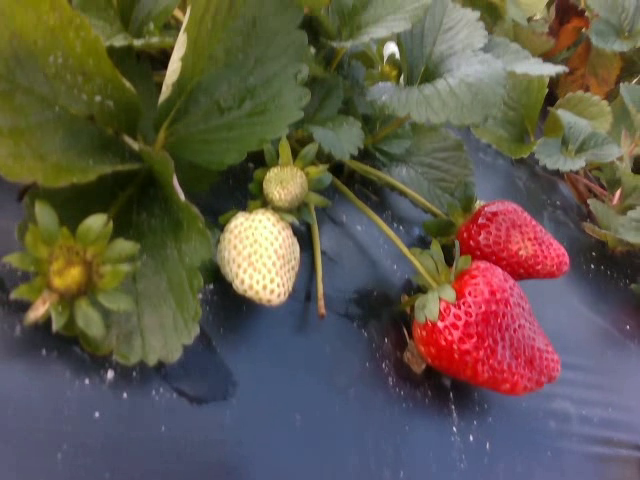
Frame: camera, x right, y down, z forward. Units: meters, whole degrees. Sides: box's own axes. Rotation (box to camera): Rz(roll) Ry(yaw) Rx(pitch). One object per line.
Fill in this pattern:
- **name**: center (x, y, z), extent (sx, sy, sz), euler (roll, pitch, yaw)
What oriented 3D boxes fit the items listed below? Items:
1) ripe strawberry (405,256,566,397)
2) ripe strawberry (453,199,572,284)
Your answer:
- **ripe strawberry**: center (0.074, 0.039, 0.266), extent (0.065, 0.059, 0.044), euler (40, -22, 3)
- **ripe strawberry**: center (0.097, 0.004, 0.317), extent (0.059, 0.051, 0.051), euler (23, -24, 30)
